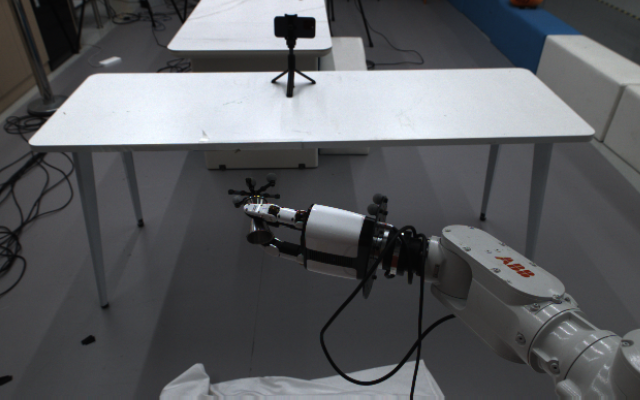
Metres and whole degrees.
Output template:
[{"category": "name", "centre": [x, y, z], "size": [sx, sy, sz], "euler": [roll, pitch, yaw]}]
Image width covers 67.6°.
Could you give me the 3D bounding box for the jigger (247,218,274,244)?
[{"category": "jigger", "centre": [-0.101, 0.031, 0.780], "size": [0.043, 0.043, 0.071], "euler": [-5, 57, -11]}]
